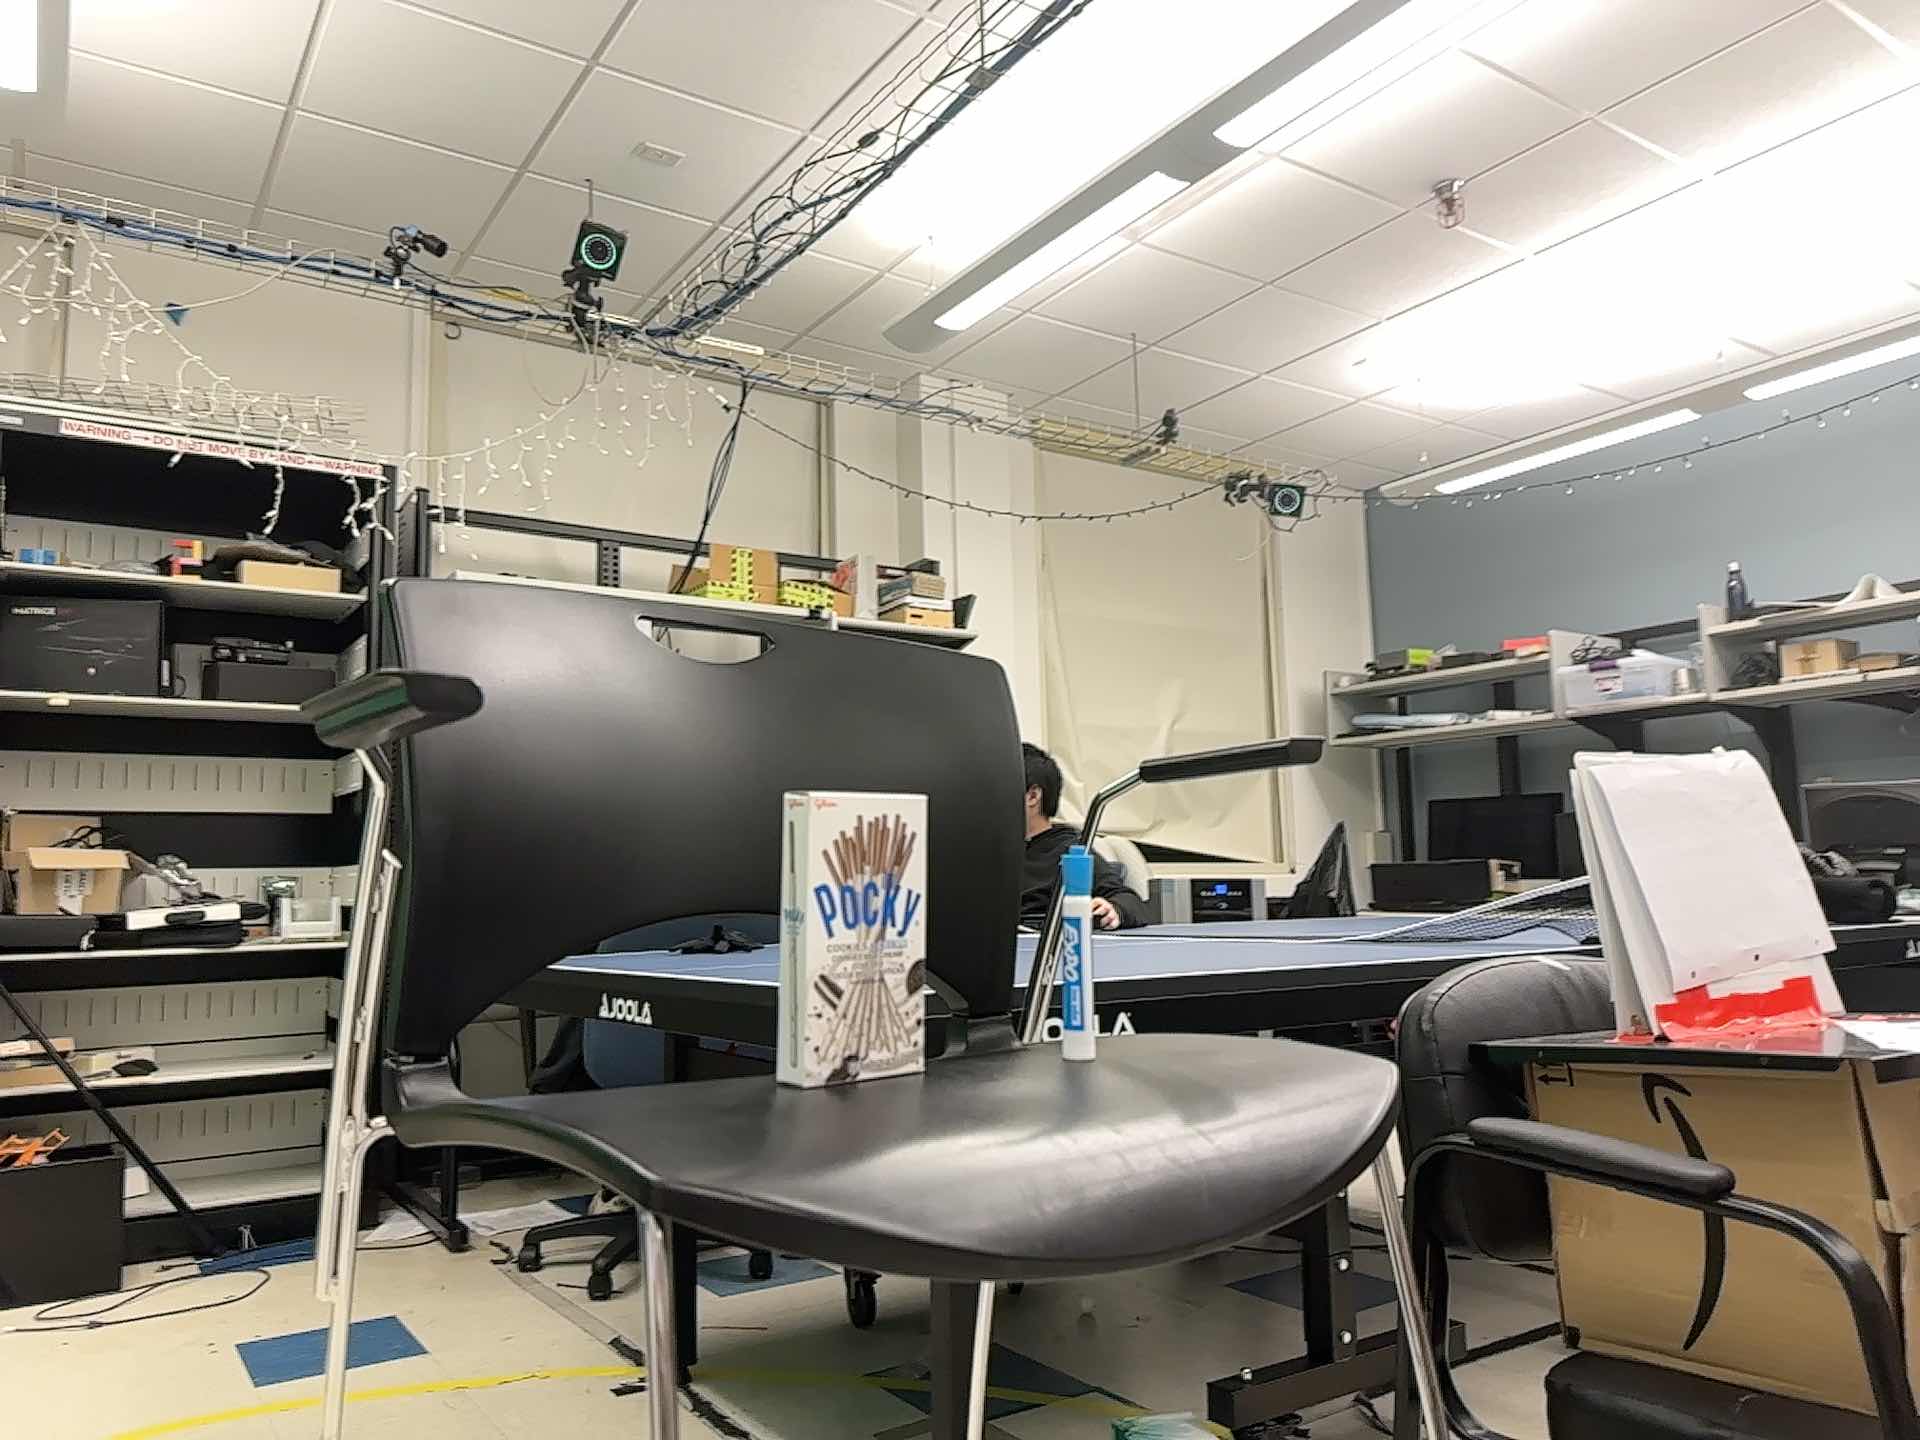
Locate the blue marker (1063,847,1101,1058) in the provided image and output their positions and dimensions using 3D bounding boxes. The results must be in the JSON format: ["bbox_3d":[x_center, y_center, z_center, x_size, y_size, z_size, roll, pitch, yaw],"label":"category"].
[{"bbox_3d":[0.071,0.135,0.786,0.020,0.121,0.020,-1,-3,0],"label":"blue marker"}]

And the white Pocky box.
[{"bbox_3d":[-0.057,0.116,0.718,0.084,0.154,0.028,4,-6,-39],"label":"white Pocky box"}]
